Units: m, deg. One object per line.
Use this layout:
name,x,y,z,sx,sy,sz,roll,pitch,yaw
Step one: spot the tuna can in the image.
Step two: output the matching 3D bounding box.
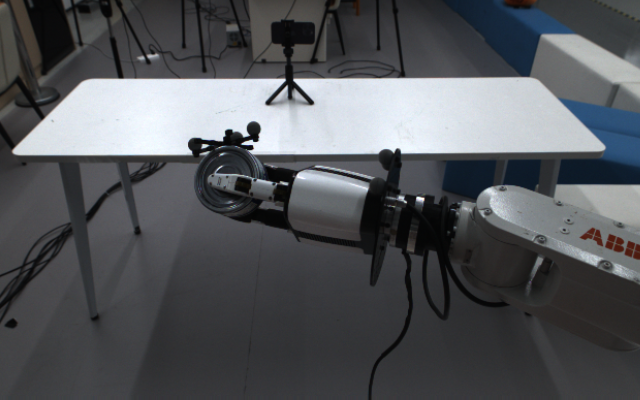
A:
tuna can,-0.104,-0.017,0.589,0.085,0.085,0.034,12,-6,15
